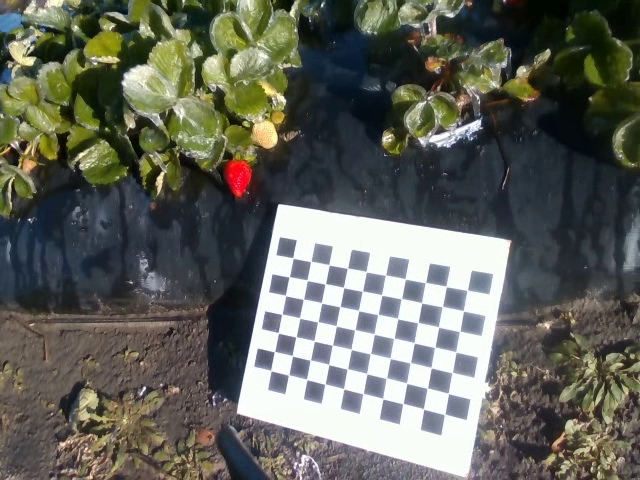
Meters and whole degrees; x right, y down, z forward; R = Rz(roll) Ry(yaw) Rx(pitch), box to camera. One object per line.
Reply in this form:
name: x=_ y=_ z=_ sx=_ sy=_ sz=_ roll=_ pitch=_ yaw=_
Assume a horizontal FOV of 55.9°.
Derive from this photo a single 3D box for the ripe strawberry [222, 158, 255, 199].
ripe strawberry: x=-0.111 y=-0.083 z=0.781 sx=0.041 sy=0.052 sz=0.040 roll=-8 pitch=-16 yaw=13
